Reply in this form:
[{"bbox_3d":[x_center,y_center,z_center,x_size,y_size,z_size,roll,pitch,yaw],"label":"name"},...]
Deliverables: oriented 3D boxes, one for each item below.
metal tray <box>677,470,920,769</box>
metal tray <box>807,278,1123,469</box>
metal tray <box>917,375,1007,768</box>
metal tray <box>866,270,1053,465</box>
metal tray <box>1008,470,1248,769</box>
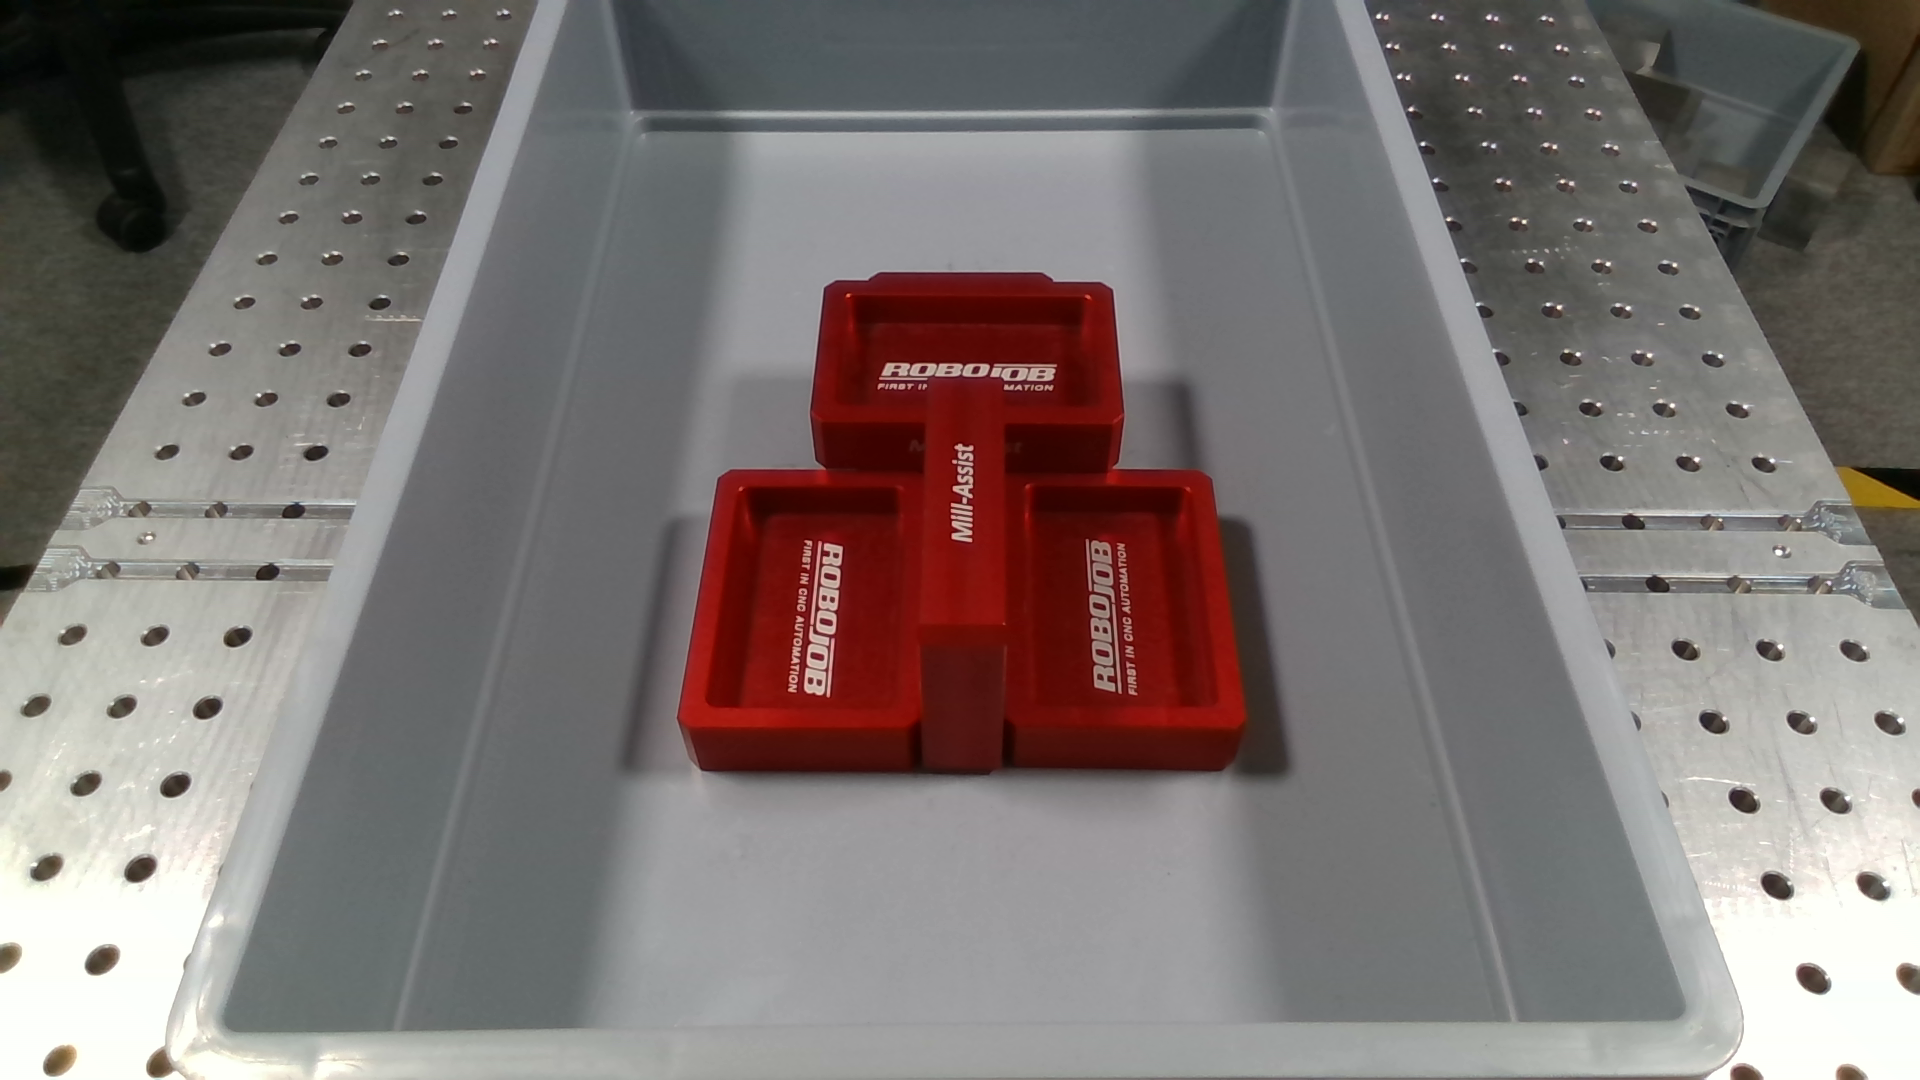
[{"bbox_3d":[-0.059,0.029,0.558,0.090,0.030,0.130,0,50,0],"label":"metal tray"},{"bbox_3d":[0.003,-0.074,0.604,0.130,0.030,0.090,1,50,1],"label":"metal tray"},{"bbox_3d":[0.001,0.011,0.533,0.030,0.090,0.130,0,50,0],"label":"metal tray"},{"bbox_3d":[0.000,-0.073,0.641,0.090,0.030,0.130,0,50,0],"label":"metal tray"},{"bbox_3d":[0.062,0.029,0.559,0.090,0.030,0.130,0,50,0],"label":"metal tray"}]
